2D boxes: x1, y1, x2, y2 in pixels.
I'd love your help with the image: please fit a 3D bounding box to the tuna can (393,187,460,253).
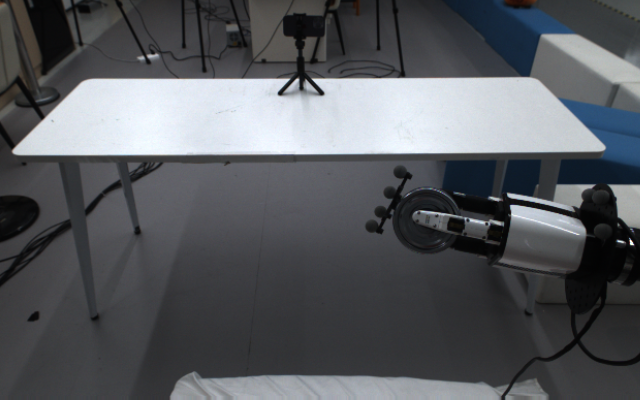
[{"bbox_3d":[0.139,0.023,0.621,0.085,0.085,0.034,9,4,10],"label":"tuna can"}]
